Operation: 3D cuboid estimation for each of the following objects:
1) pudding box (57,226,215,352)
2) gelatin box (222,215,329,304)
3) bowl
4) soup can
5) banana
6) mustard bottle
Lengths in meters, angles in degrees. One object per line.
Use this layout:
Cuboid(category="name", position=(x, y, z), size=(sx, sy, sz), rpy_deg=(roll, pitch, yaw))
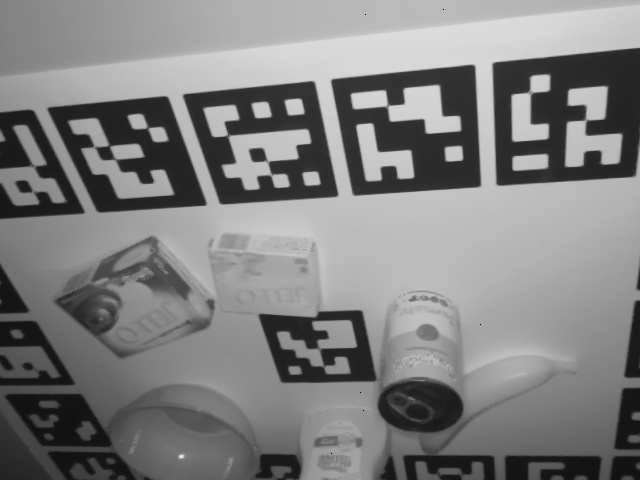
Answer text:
Cuboid(category="pudding box", position=(-0.168, 0.047, 0.643), size=(0.112, 0.039, 0.090), rpy_deg=(-23, 115, 23))
Cuboid(category="gelatin box", position=(-0.037, 0.018, 0.609), size=(0.089, 0.030, 0.072), rpy_deg=(3, 124, 5))
Cuboid(category="bowl", position=(-0.151, 0.200, 0.750), size=(0.161, 0.056, 0.160), rpy_deg=(3, 128, 4))
Cuboid(category="soup can", position=(0.098, 0.106, 0.600), size=(0.068, 0.103, 0.067), rpy_deg=(5, 129, 7))
Cuboid(category="banana", position=(0.159, 0.169, 0.691), size=(0.075, 0.039, 0.194), rpy_deg=(26, 127, -24))
Cuboid(category="mustard bottle", position=(0.008, 0.259, 0.669), size=(0.096, 0.193, 0.058), rpy_deg=(-1, 130, 10))
